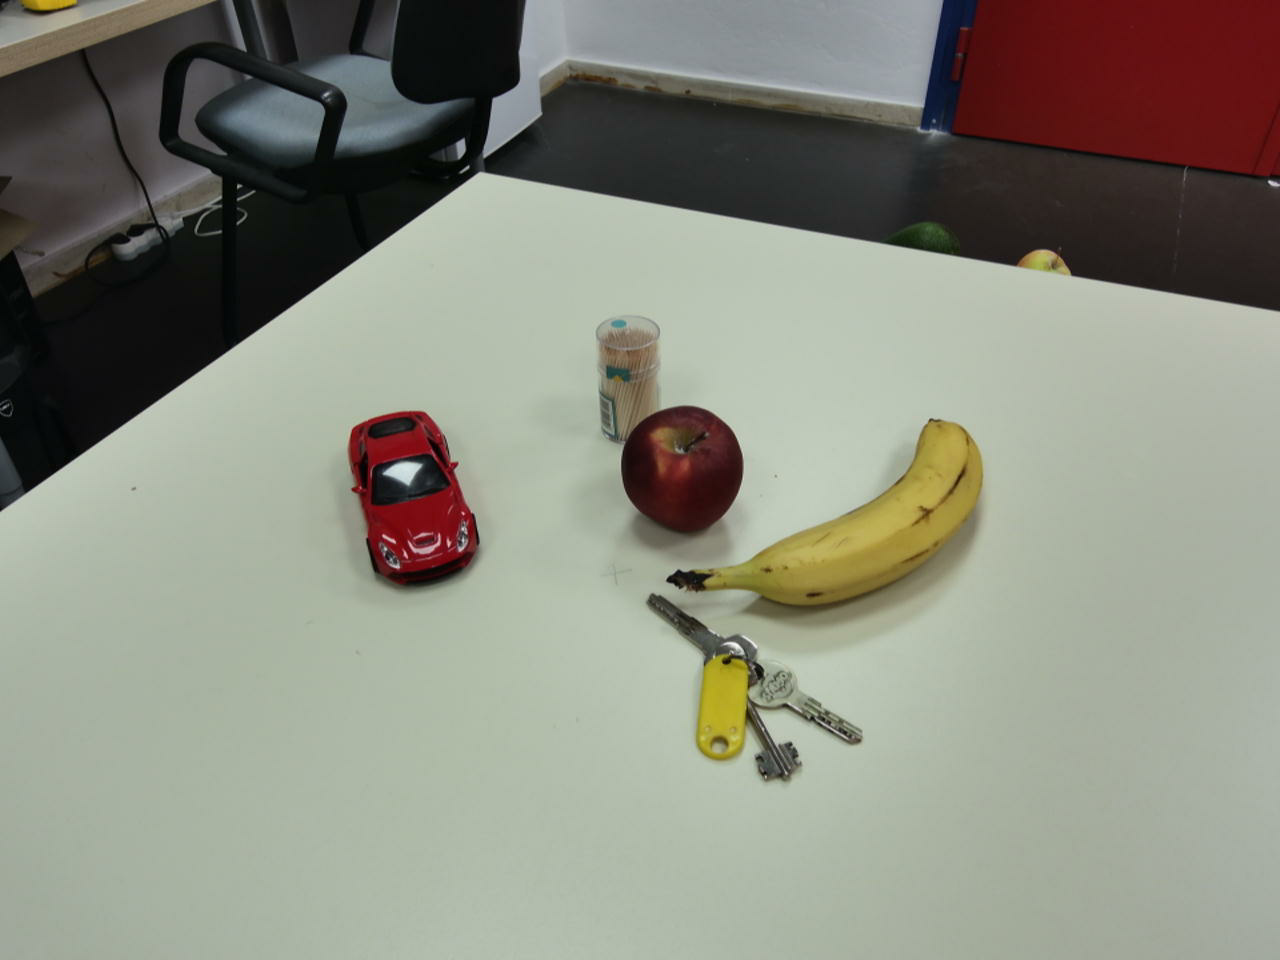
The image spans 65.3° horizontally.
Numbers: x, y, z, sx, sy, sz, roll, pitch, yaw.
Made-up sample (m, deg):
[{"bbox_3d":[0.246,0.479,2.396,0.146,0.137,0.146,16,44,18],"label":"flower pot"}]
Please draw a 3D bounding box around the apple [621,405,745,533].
[{"bbox_3d":[0.024,-0.005,0.562,0.070,0.072,0.070,0,38,0],"label":"apple"}]
